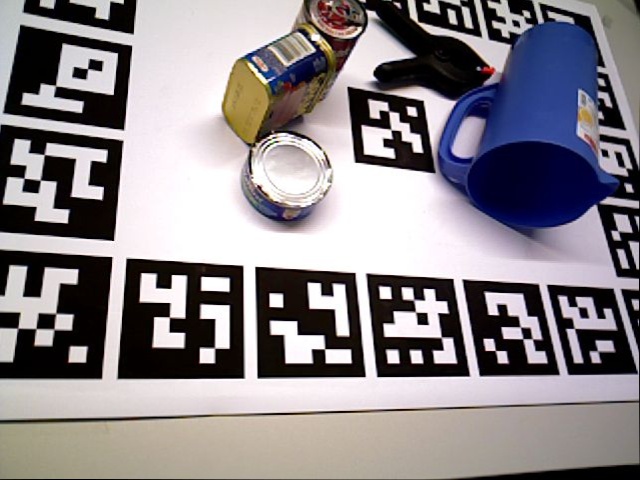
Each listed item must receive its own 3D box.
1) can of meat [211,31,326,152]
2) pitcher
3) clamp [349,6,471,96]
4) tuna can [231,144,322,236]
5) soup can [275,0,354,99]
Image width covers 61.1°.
[{"bbox_3d":[-0.053,-0.139,0.524,0.082,0.104,0.058,-34,84,-26],"label":"can of meat"},{"bbox_3d":[0.246,-0.133,0.618,0.189,0.136,0.238,14,55,9],"label":"pitcher"},{"bbox_3d":[0.113,-0.222,0.675,0.163,0.037,0.120,8,62,-22],"label":"clamp"},{"bbox_3d":[-0.043,-0.048,0.534,0.085,0.034,0.085,7,69,-19],"label":"tuna can"},{"bbox_3d":[-0.015,-0.197,0.567,0.067,0.104,0.067,6,68,-16],"label":"soup can"}]
